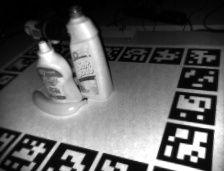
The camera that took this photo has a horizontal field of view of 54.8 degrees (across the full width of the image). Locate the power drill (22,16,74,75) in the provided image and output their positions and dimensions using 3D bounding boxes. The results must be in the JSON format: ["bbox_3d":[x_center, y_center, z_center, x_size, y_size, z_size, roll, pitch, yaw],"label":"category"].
[{"bbox_3d":[-0.168,-0.111,0.634,0.182,0.188,0.057,18,49,31],"label":"power drill"}]

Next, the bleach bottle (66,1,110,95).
[{"bbox_3d":[-0.074,-0.093,0.580,0.101,0.253,0.068,8,40,26],"label":"bleach bottle"}]

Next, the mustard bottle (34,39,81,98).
[{"bbox_3d":[-0.155,-0.045,0.585,0.095,0.193,0.058,7,45,24],"label":"mustard bottle"}]

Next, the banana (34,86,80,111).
[{"bbox_3d":[-0.167,0.036,0.629,0.195,0.039,0.074,9,46,29],"label":"banana"}]
